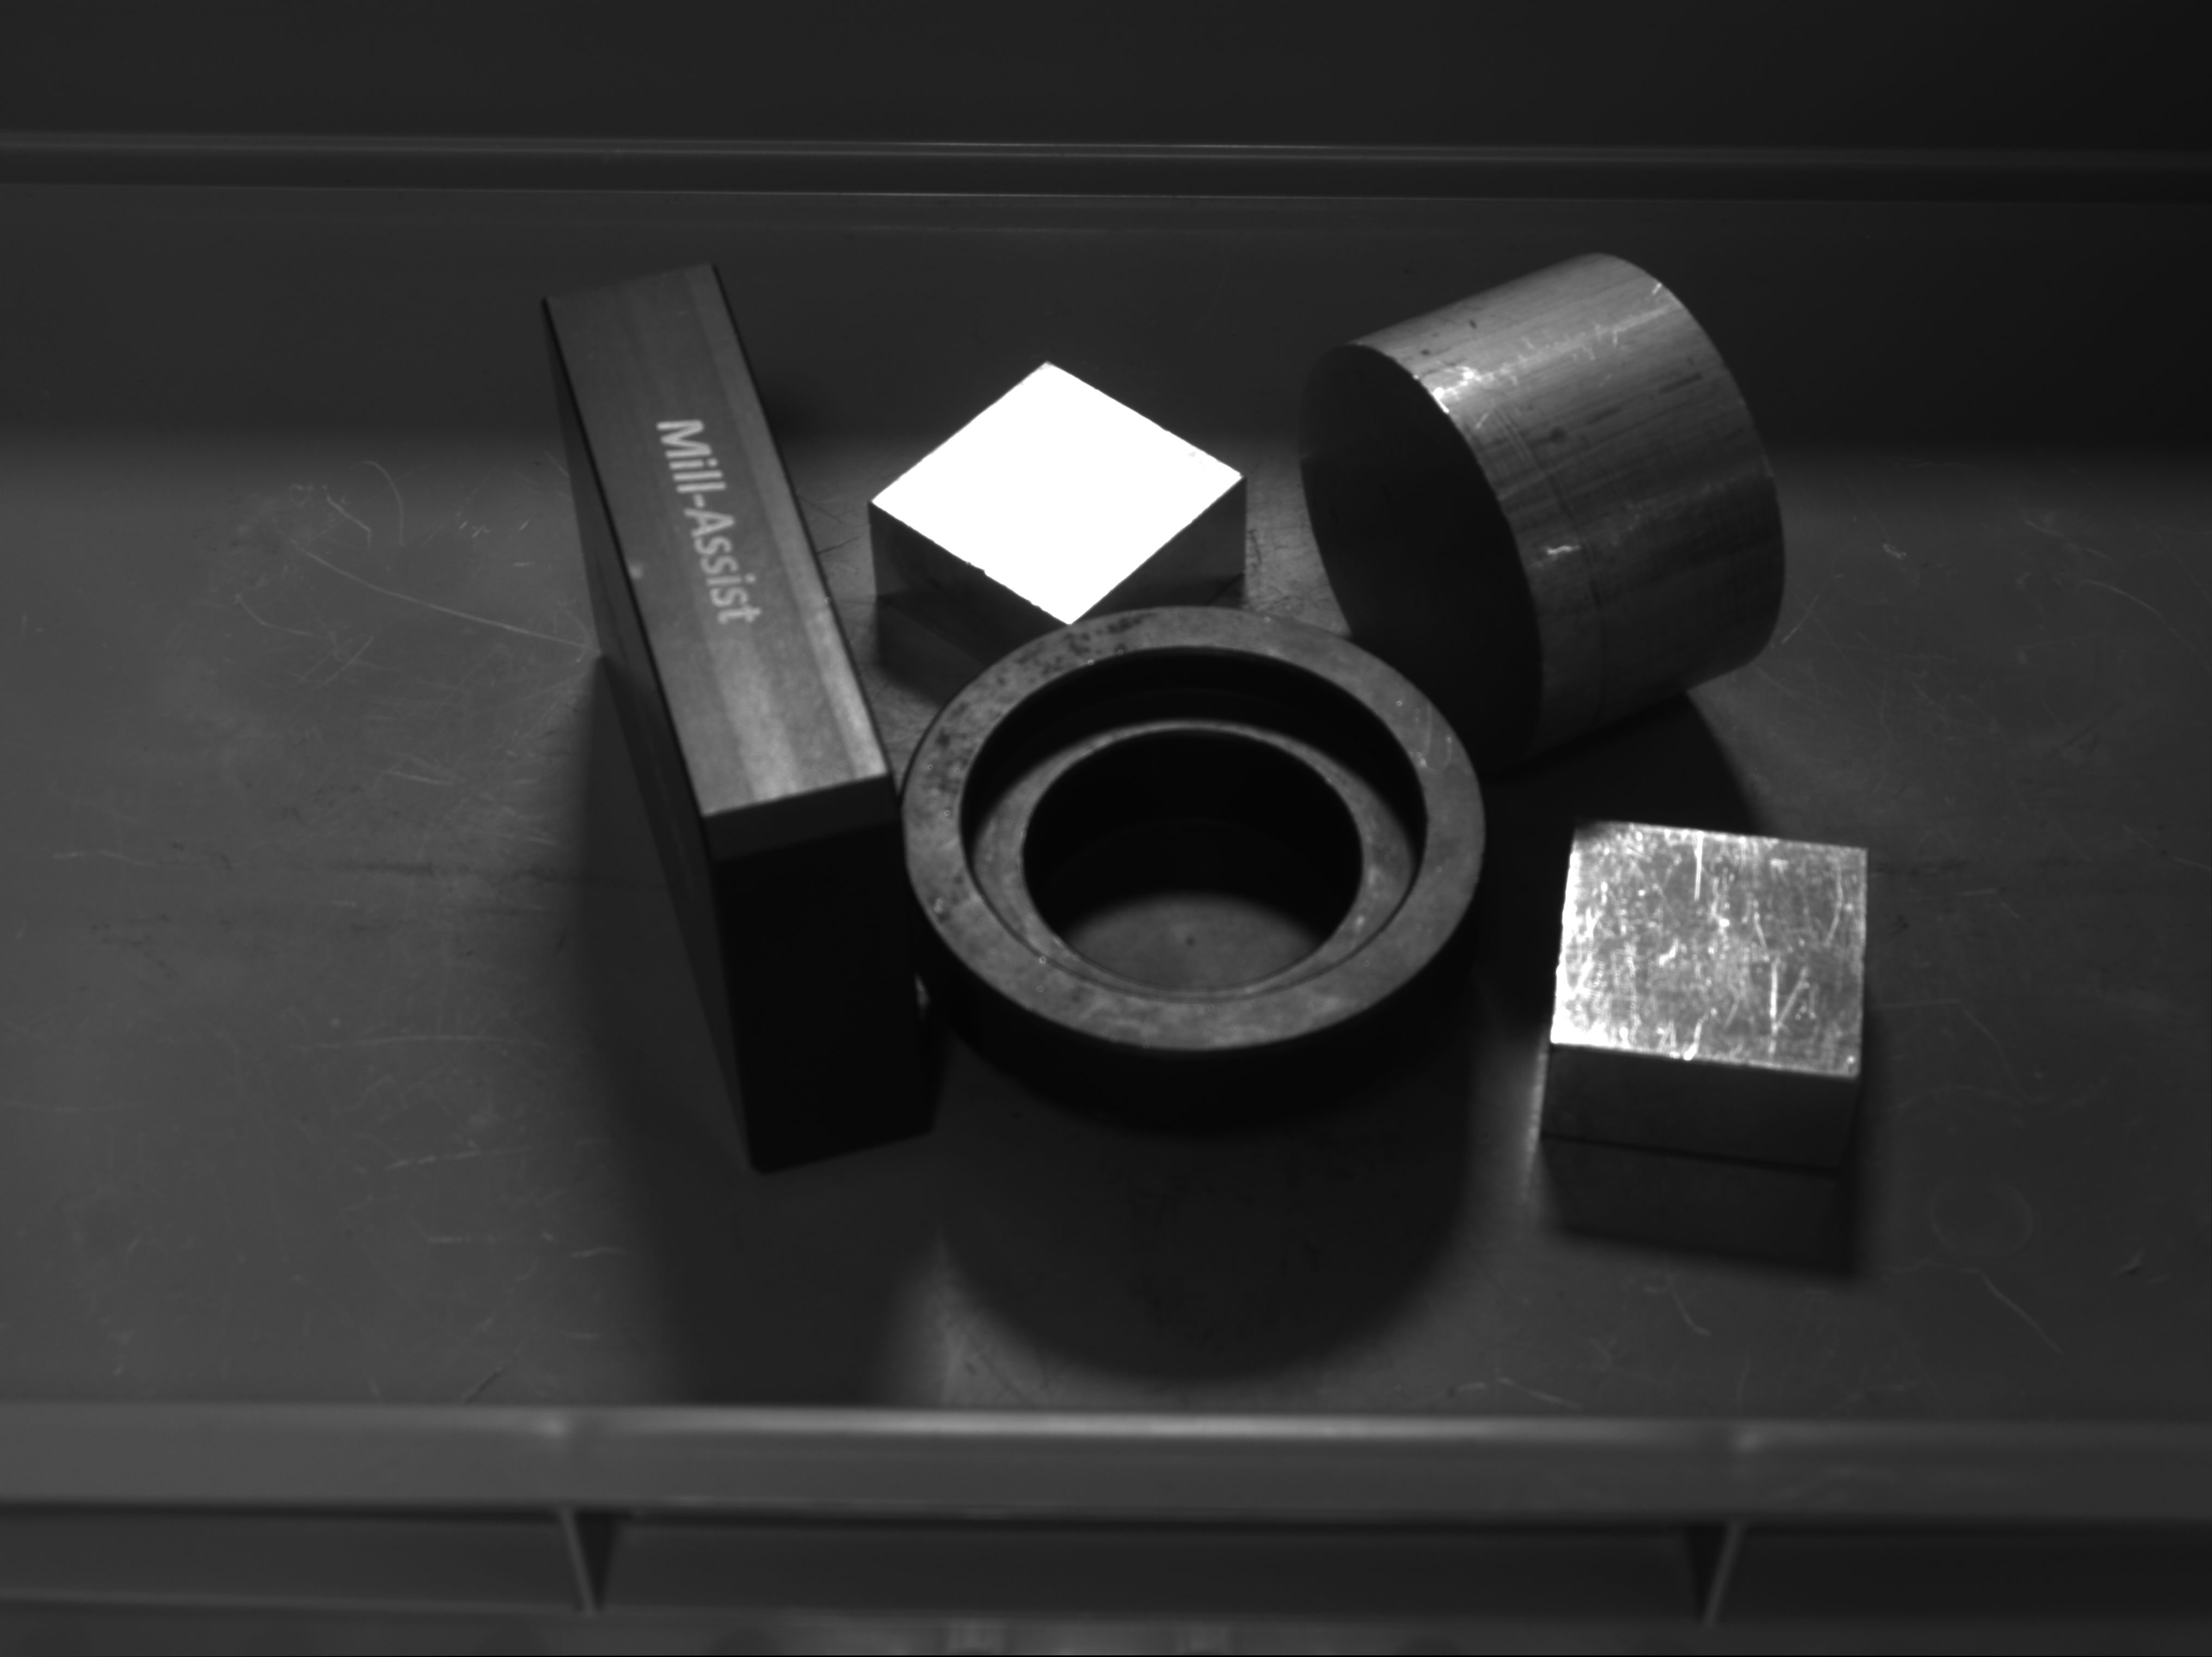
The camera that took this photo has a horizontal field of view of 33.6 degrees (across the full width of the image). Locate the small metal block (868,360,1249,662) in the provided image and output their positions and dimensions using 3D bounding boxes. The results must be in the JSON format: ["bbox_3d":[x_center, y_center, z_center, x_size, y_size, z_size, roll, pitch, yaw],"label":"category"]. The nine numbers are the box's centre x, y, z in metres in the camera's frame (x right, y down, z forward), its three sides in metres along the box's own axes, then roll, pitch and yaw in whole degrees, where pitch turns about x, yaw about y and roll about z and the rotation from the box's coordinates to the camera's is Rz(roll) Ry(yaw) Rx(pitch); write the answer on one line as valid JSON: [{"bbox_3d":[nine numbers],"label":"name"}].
[{"bbox_3d":[-0.008,-0.055,0.687,0.050,0.025,0.050,32,58,26],"label":"small metal block"}]

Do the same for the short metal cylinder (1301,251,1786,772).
[{"bbox_3d":[0.077,-0.057,0.653,0.050,0.080,0.080,-23,53,-18],"label":"short metal cylinder"}]

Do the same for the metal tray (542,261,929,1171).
[{"bbox_3d":[-0.063,-0.020,0.615,0.030,0.090,0.130,-13,51,-10],"label":"metal tray"}]

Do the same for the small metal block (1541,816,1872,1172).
[{"bbox_3d":[0.101,0.027,0.617,0.050,0.025,0.050,6,50,7],"label":"small metal block"}]

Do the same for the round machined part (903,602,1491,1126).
[{"bbox_3d":[0.014,0.011,0.618,0.098,0.042,0.098,0,50,0],"label":"round machined part"}]
